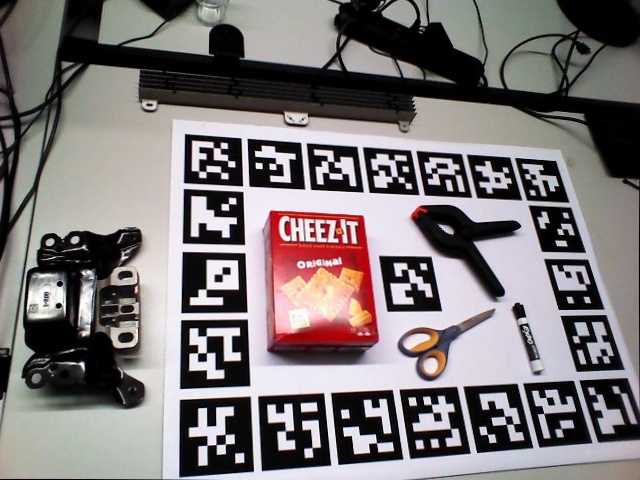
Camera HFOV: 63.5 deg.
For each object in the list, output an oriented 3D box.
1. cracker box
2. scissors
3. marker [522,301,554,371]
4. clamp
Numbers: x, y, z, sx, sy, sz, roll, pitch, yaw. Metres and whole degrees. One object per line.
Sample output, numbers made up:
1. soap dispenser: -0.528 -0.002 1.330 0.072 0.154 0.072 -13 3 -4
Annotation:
1. cracker box: 0.006 0.062 0.816 0.164 0.072 0.212 3 64 -13
2. scissors: 0.233 0.153 0.856 0.202 0.016 0.087 -26 72 -26
3. marker: 0.372 0.162 0.886 0.019 0.020 0.120 -2 64 -15
4. clamp: 0.267 -0.012 0.951 0.203 0.037 0.164 29 60 0
